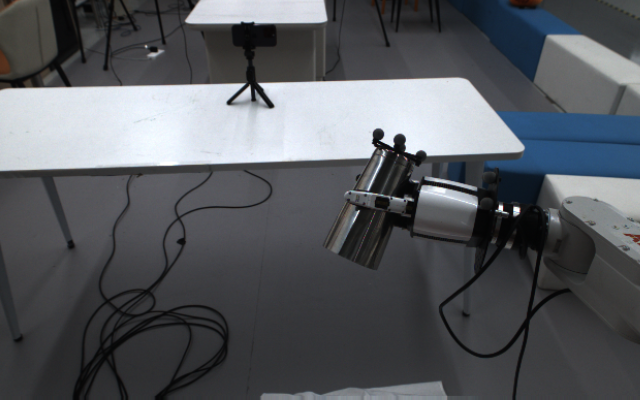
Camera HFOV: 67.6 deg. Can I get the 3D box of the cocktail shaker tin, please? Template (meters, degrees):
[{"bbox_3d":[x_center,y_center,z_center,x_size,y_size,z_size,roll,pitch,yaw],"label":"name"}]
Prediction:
[{"bbox_3d":[0.082,0.007,0.739,0.093,0.170,0.093,23,0,0],"label":"cocktail shaker tin"}]
